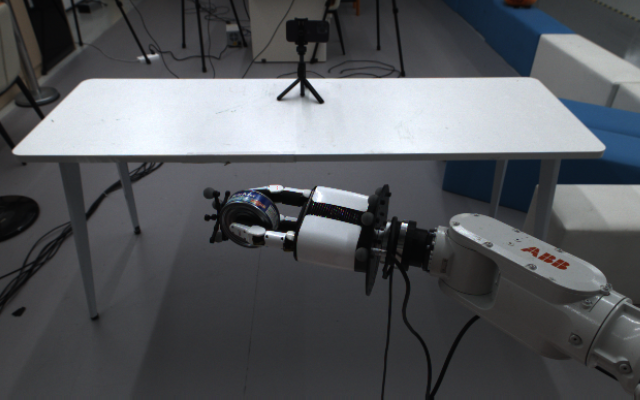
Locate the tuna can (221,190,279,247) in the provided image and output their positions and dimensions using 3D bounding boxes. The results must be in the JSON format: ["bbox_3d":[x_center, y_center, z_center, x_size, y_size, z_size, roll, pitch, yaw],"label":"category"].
[{"bbox_3d":[-0.103,0.028,0.719,0.085,0.085,0.034,9,34,10],"label":"tuna can"}]
